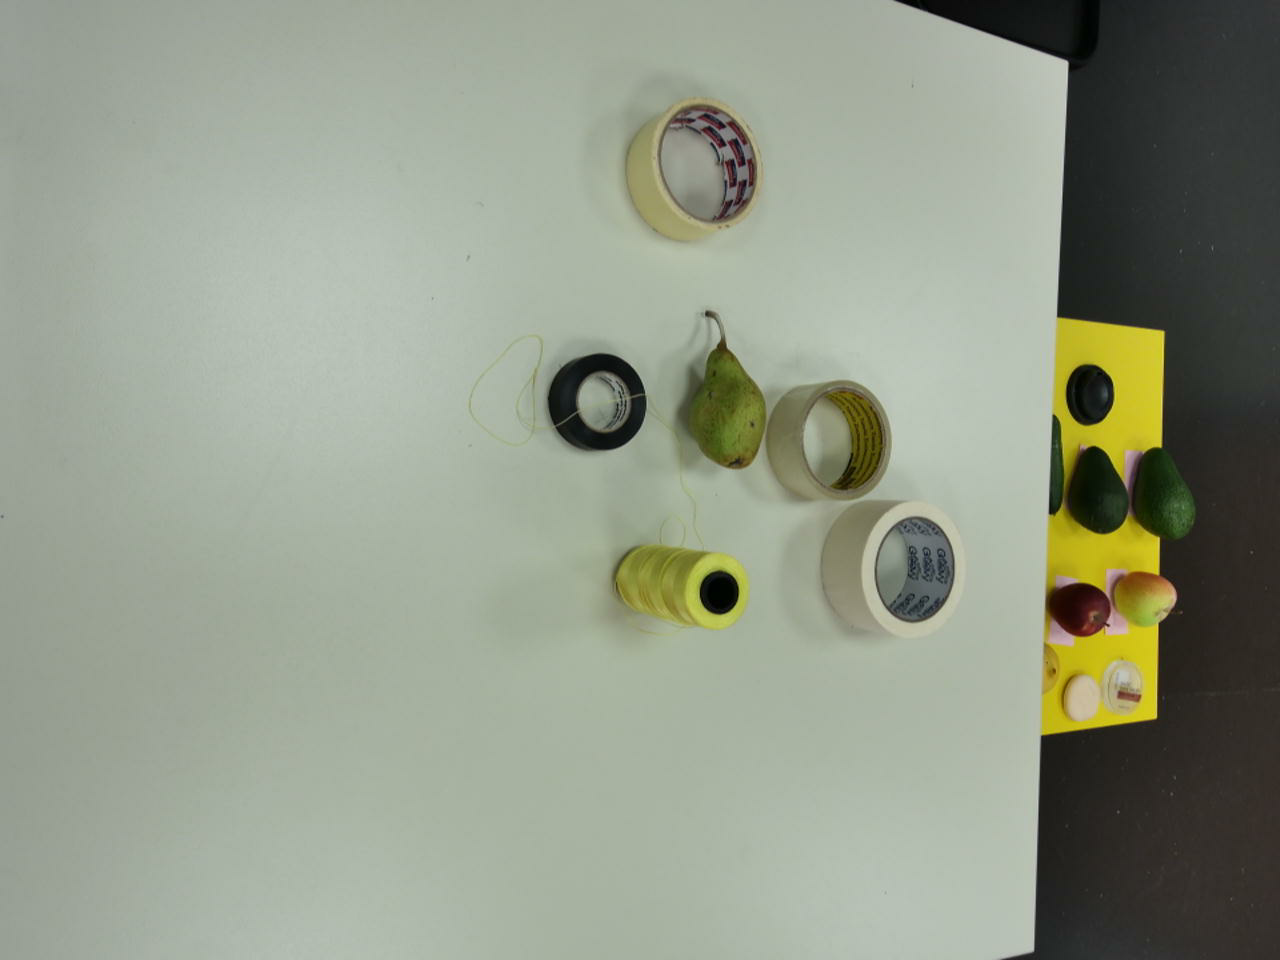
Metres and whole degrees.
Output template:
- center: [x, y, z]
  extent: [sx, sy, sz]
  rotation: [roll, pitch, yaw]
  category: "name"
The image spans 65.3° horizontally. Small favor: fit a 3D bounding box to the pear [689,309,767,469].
- center: [0.068, -0.063, 0.710]
  extent: [0.056, 0.056, 0.111]
  rotation: [20, 81, -27]
  category: "pear"
